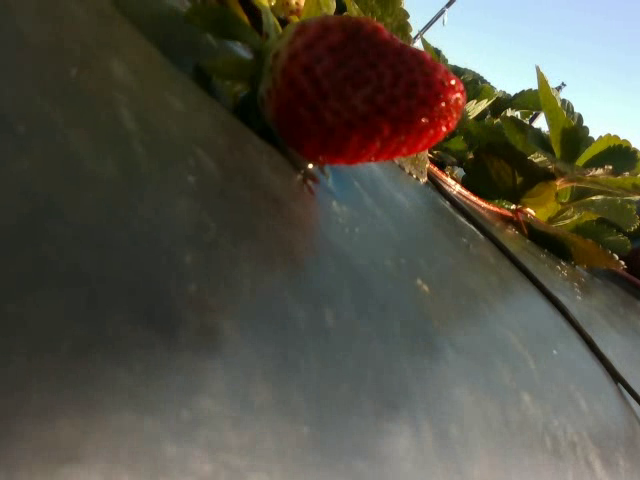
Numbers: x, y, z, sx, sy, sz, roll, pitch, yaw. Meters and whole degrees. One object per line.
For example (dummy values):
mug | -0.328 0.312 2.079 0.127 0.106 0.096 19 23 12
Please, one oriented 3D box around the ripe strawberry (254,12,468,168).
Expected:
ripe strawberry | 0.008 -0.023 0.100 0.041 0.031 0.028 13 20 38
